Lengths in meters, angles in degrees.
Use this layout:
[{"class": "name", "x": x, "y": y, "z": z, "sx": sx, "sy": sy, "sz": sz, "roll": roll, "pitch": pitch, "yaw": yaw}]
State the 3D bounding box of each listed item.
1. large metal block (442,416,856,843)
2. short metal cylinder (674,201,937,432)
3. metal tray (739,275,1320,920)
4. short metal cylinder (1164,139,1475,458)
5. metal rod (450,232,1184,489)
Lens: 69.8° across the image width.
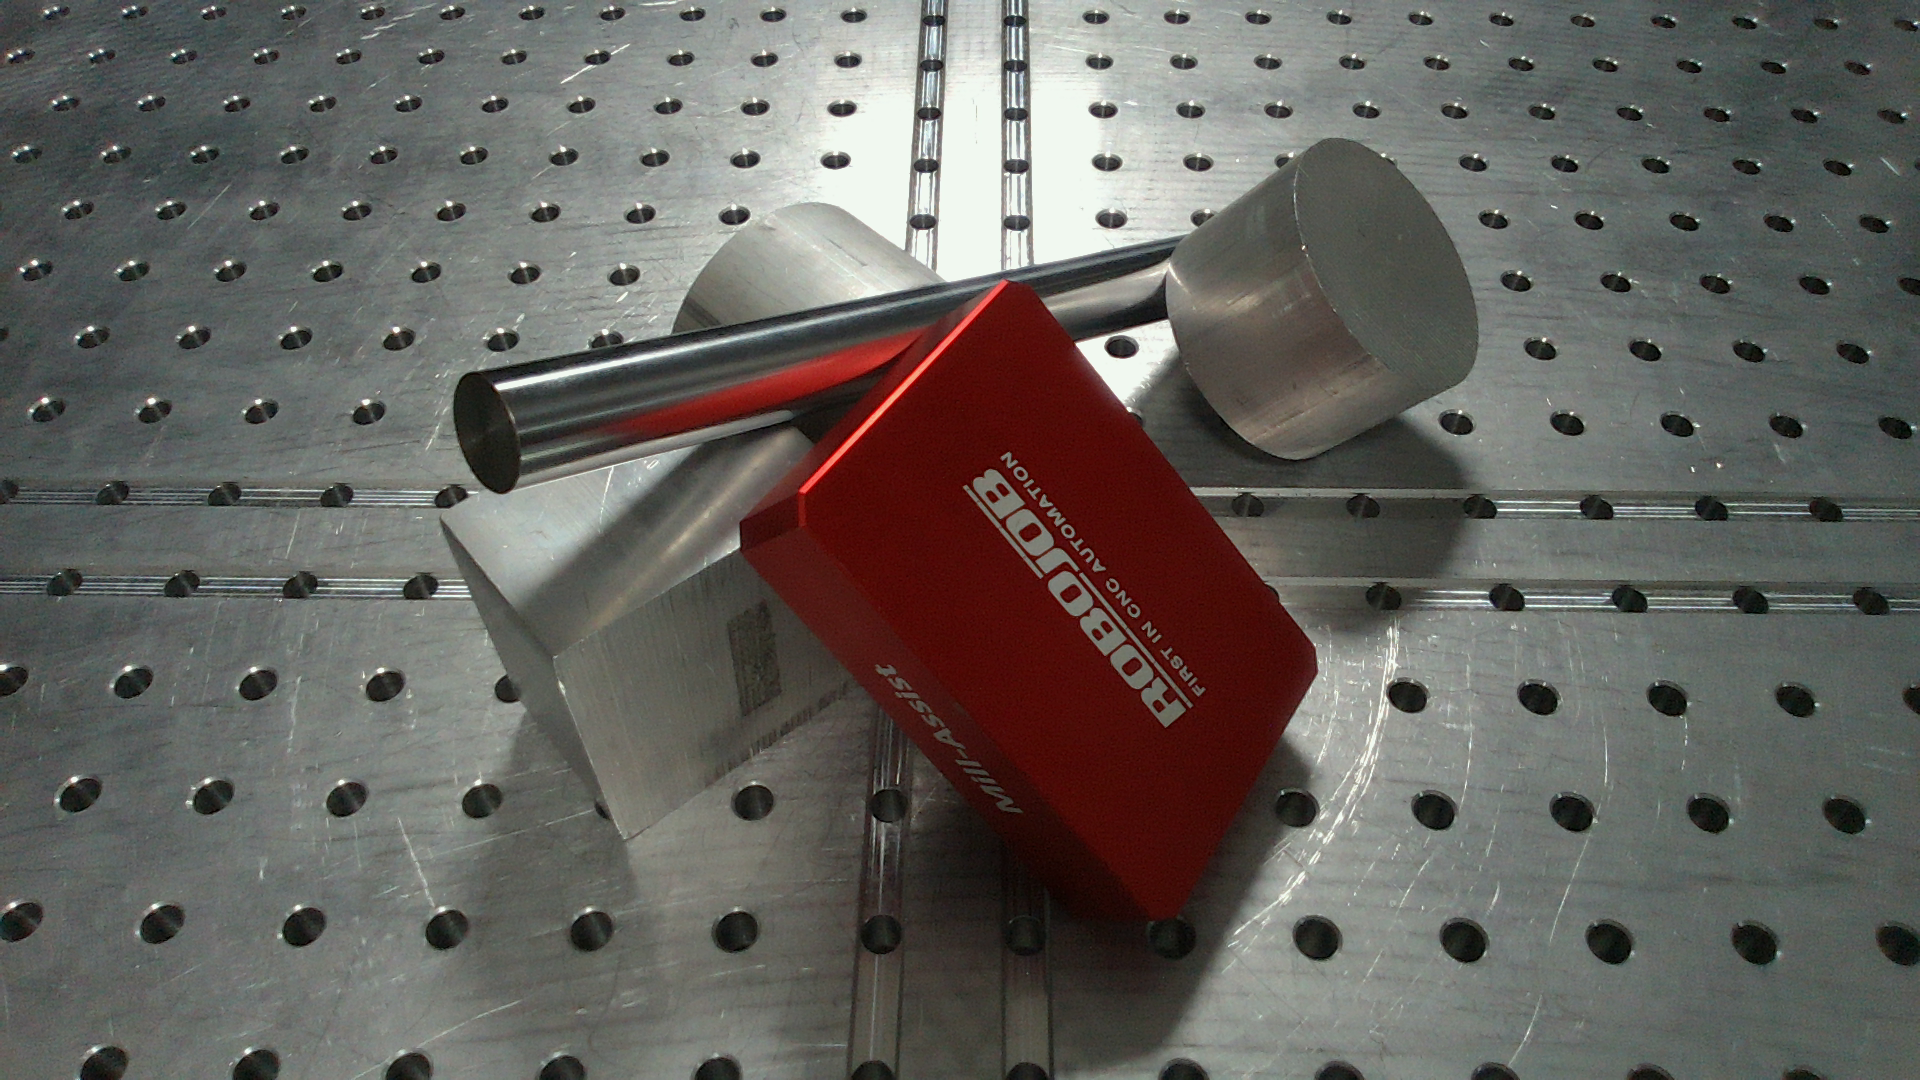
[{"class": "large metal block", "x": -0.070, "y": 0.016, "z": 0.344, "sx": 0.080, "sy": 0.080, "sz": 0.050, "roll": -32, "pitch": 57, "yaw": -24}, {"class": "short metal cylinder", "x": -0.038, "y": -0.051, "z": 0.401, "sx": 0.080, "sy": 0.080, "sz": 0.050, "roll": -36, "pitch": 58, "yaw": -26}, {"class": "metal tray", "x": 0.022, "y": 0.014, "z": 0.327, "sx": 0.130, "sy": 0.030, "sz": 0.090, "roll": 49, "pitch": 56, "yaw": -15}, {"class": "short metal cylinder", "x": 0.108, "y": -0.071, "z": 0.412, "sx": 0.080, "sy": 0.050, "sz": 0.080, "roll": 17, "pitch": 60, "yaw": -32}, {"class": "metal rod", "x": 0.007, "y": -0.061, "z": 0.376, "sx": 0.025, "sy": 0.025, "sz": 0.301, "roll": 39, "pitch": 39, "yaw": 28}]
